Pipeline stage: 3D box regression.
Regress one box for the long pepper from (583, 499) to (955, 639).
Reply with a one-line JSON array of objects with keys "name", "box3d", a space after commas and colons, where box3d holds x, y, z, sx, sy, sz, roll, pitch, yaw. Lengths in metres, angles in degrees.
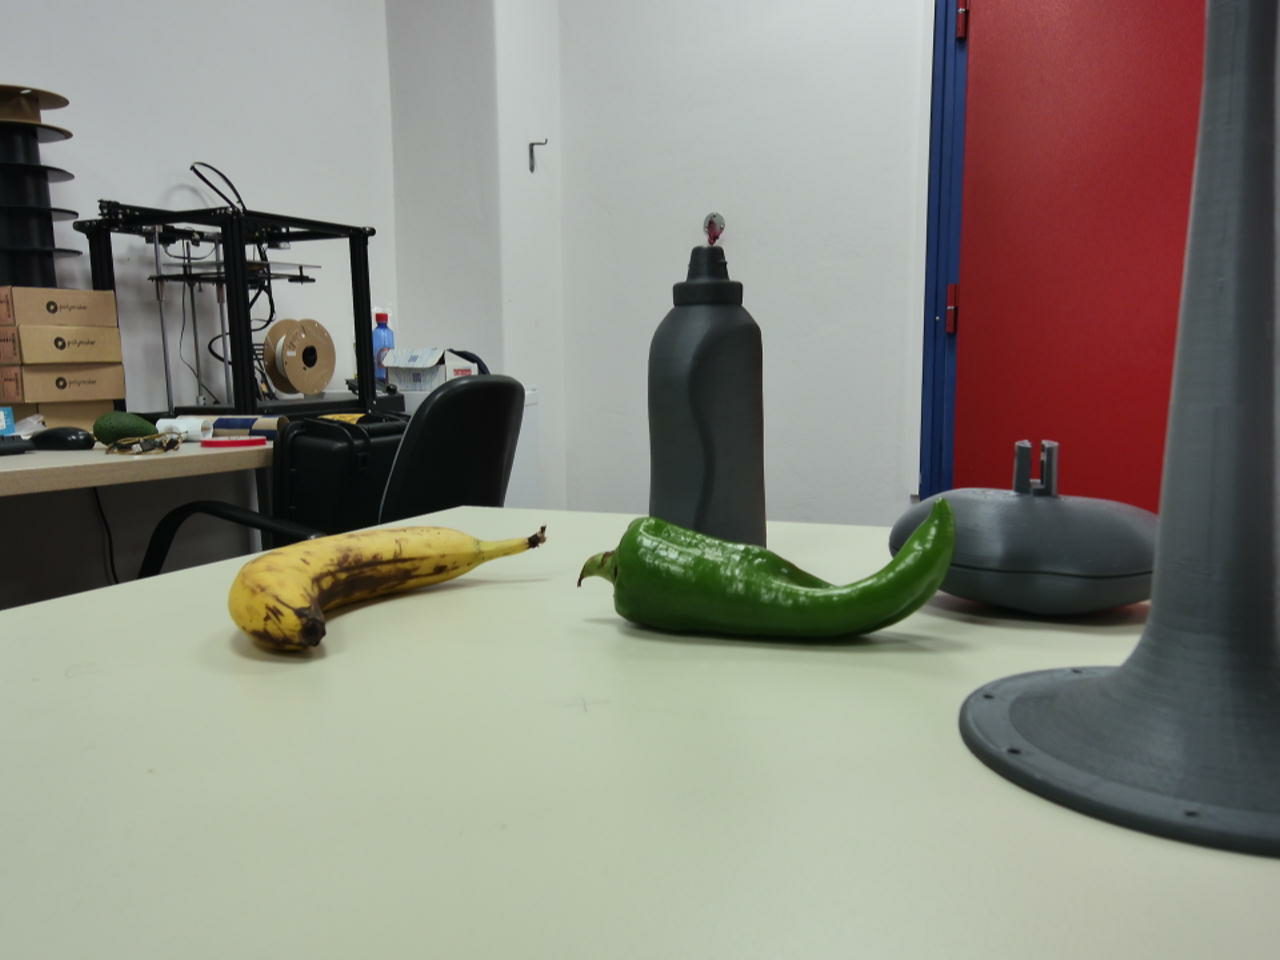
[{"name": "long pepper", "box3d": [0.053, 0.039, 0.462, 0.175, 0.065, 0.058, 2, 4, 23]}]
